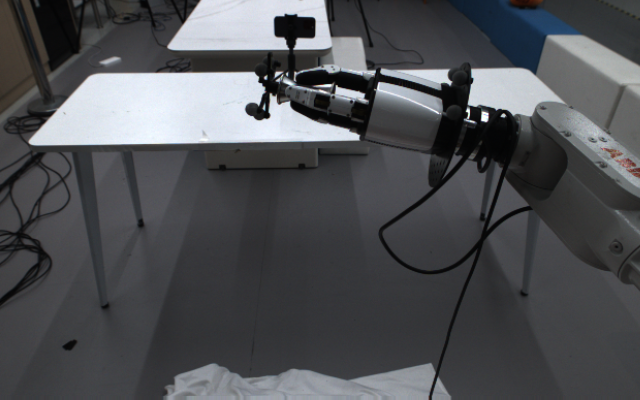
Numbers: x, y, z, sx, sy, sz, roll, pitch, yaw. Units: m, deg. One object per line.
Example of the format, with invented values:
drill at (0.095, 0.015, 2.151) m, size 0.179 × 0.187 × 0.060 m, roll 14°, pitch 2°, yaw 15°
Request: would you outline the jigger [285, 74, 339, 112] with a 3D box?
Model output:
jigger at (-0.011, -0.139, 0.622) m, size 0.071 × 0.043 × 0.043 m, roll 12°, pitch 36°, yaw 5°
